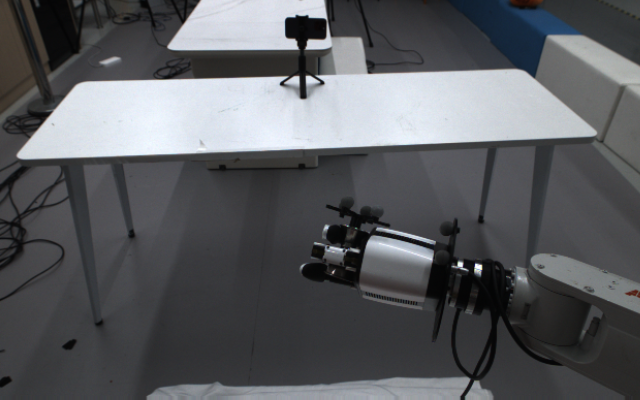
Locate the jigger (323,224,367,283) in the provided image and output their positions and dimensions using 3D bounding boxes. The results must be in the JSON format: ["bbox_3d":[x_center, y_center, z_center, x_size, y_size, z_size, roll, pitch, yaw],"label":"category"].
[{"bbox_3d":[0.036,0.069,0.640,0.043,0.071,0.043,19,-6,2],"label":"jigger"}]
